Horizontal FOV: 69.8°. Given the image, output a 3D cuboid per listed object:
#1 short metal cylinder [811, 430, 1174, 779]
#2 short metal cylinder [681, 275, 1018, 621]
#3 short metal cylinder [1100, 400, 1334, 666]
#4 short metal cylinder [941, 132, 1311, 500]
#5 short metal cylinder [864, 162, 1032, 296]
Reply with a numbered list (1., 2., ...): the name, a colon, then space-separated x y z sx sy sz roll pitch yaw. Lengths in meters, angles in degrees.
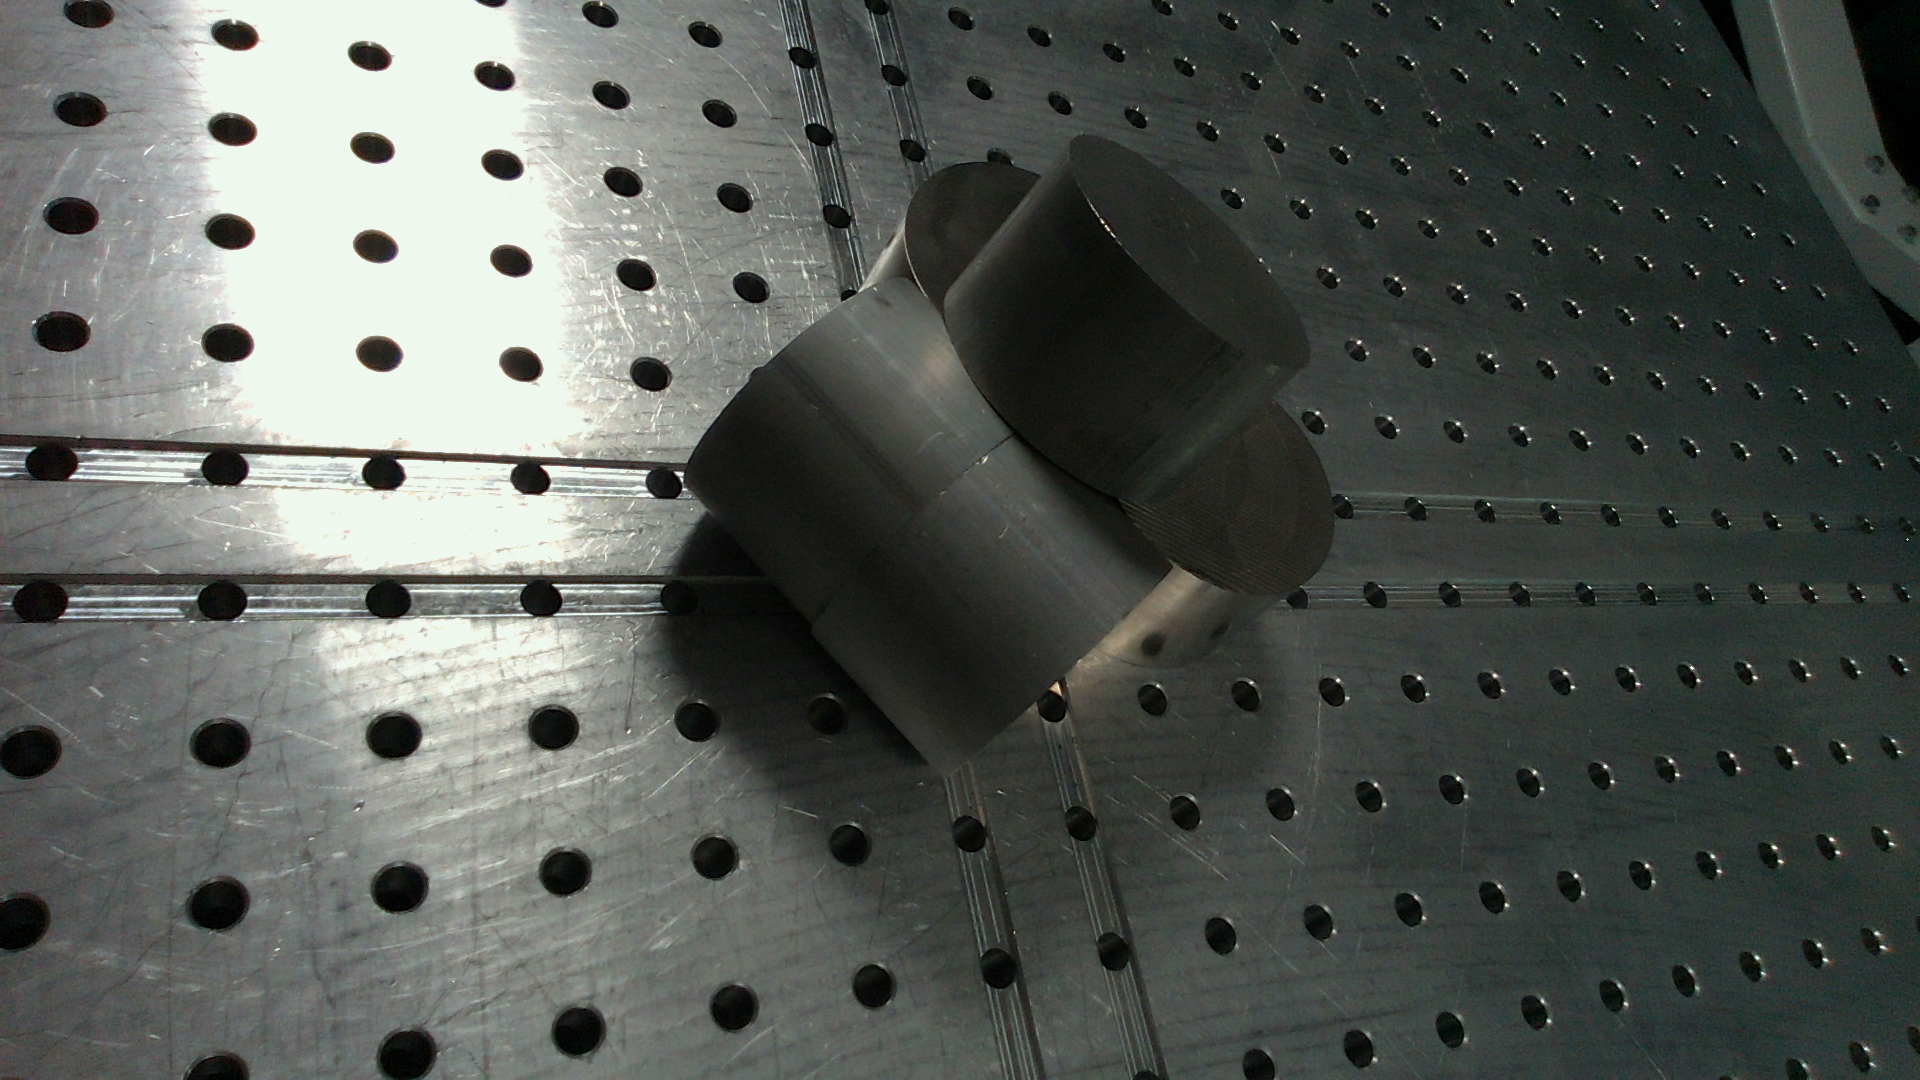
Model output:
1. short metal cylinder: 0.008 0.015 0.352 0.050 0.080 0.080 47 51 5
2. short metal cylinder: -0.025 -0.022 0.358 0.050 0.080 0.080 47 51 5
3. short metal cylinder: 0.064 -0.009 0.415 0.080 0.050 0.080 14 56 -21
4. short metal cylinder: 0.042 -0.057 0.351 0.080 0.050 0.080 31 32 -22
5. short metal cylinder: 0.010 -0.068 0.422 0.080 0.050 0.080 14 56 -21
